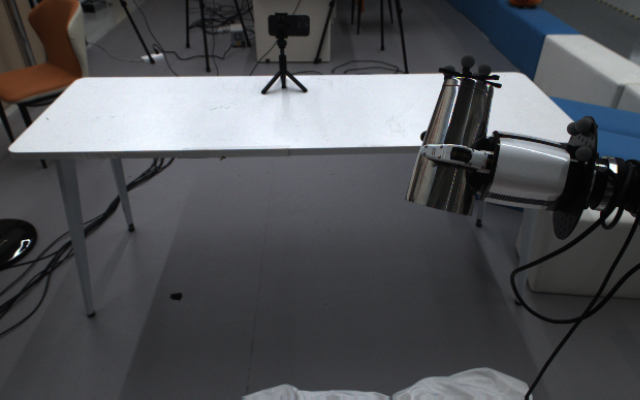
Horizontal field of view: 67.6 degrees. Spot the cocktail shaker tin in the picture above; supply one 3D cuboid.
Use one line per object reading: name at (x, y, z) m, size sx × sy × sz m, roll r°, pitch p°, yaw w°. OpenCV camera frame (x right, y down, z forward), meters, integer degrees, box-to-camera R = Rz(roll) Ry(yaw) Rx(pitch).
cocktail shaker tin at (0.180, -0.073, 0.651) m, size 0.093 × 0.170 × 0.093 m, roll 13°, pitch 4°, yaw -1°
